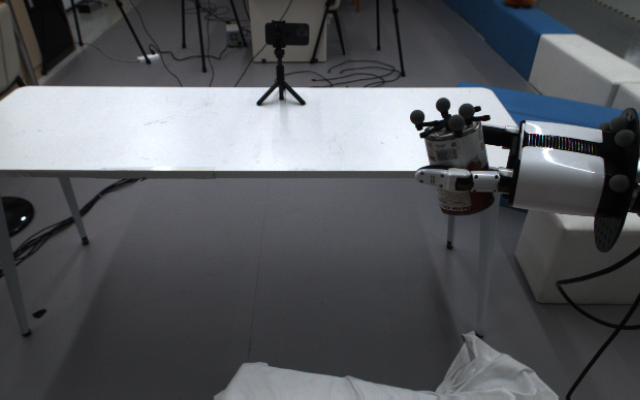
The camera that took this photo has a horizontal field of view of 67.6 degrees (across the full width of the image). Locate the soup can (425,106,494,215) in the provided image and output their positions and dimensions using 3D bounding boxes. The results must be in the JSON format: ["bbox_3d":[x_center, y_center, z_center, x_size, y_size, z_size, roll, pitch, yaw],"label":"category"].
[{"bbox_3d":[0.169,-0.043,0.582,0.067,0.101,0.067,-16,22,7],"label":"soup can"}]
